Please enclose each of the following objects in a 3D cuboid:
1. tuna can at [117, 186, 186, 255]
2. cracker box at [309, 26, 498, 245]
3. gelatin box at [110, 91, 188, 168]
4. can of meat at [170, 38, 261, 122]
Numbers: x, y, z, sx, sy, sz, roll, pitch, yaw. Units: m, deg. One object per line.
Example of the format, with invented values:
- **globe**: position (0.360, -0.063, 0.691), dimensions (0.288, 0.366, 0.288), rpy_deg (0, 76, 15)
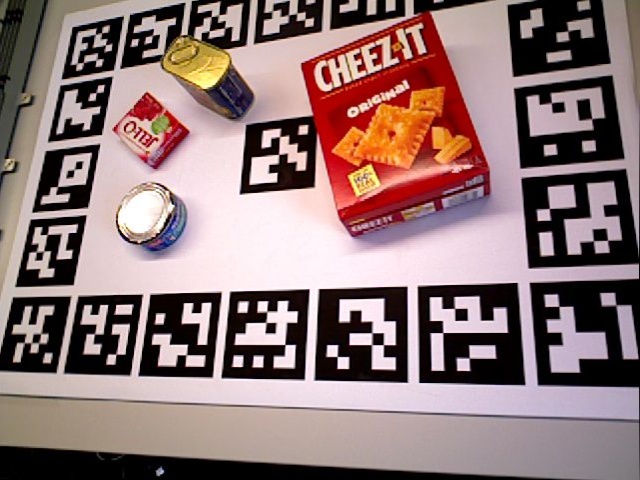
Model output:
- **tuna can**: position (-0.220, -0.025, 0.711), dimensions (0.086, 0.034, 0.085), rpy_deg (-6, 73, 18)
- **cracker box**: position (0.089, -0.122, 0.626), dimensions (0.165, 0.072, 0.212), rpy_deg (-18, 66, 10)
- **gelatin box**: position (-0.242, -0.157, 0.768), dimensions (0.073, 0.030, 0.089), rpy_deg (-46, 67, -4)
- **can of meat**: position (-0.137, -0.212, 0.729), dimensions (0.102, 0.084, 0.057), rpy_deg (29, 81, 26)
